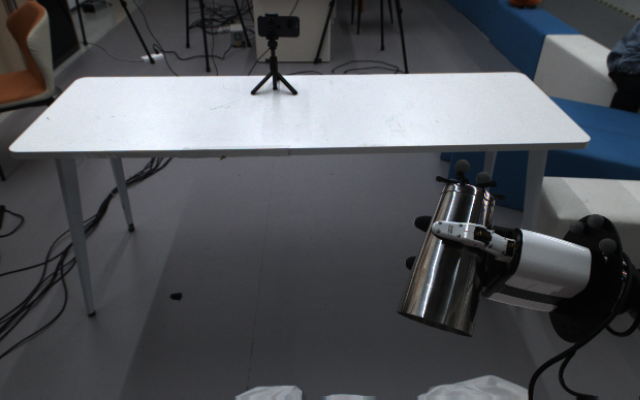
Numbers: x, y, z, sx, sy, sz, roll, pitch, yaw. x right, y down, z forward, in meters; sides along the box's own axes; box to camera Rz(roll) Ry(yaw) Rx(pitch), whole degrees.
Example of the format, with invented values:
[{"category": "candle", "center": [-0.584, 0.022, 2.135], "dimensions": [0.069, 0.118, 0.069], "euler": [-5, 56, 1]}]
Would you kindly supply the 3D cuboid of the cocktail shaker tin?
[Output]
[{"category": "cocktail shaker tin", "center": [0.164, 0.070, 0.595], "dimensions": [0.093, 0.093, 0.170], "euler": [15, 75, 18]}]
